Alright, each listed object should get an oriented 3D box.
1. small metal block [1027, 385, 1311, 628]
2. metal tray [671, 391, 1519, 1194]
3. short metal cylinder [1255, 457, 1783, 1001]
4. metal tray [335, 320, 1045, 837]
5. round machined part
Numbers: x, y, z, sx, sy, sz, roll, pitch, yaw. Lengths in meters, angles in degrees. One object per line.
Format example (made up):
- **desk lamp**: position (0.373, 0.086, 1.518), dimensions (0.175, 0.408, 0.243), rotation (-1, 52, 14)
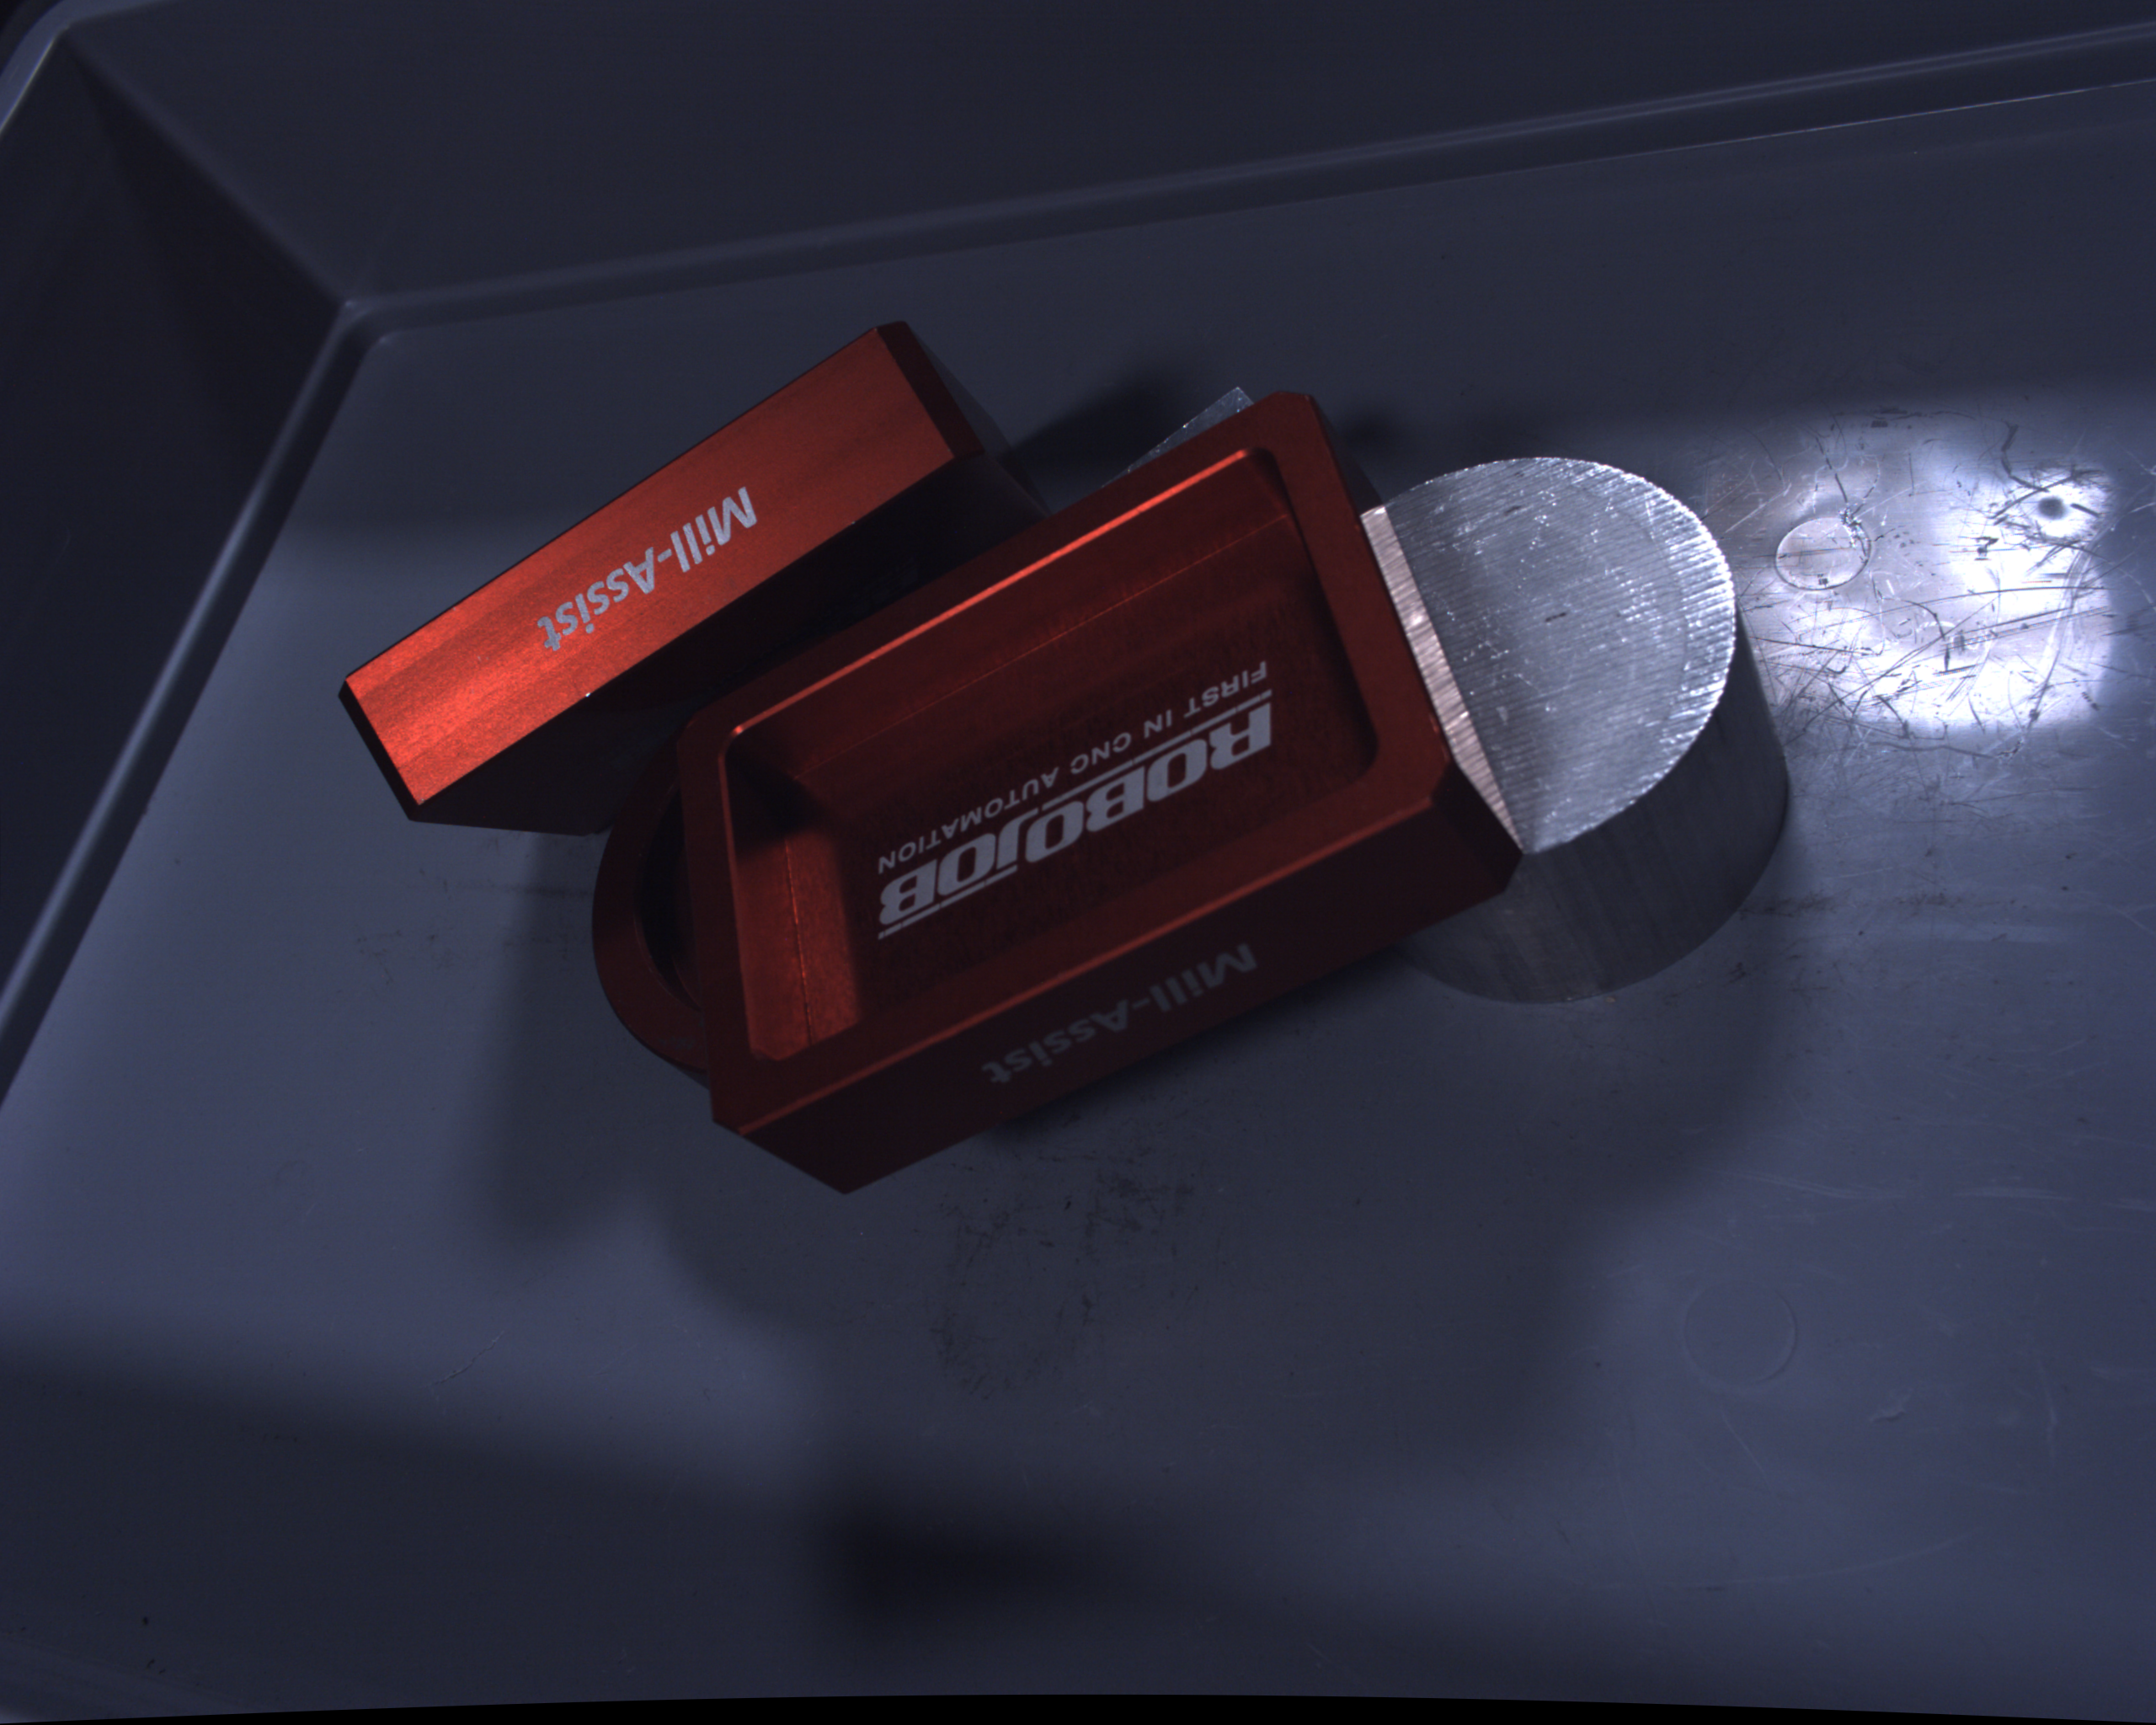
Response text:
- **small metal block**: position (0.025, -0.056, 0.407), dimensions (0.050, 0.050, 0.025), rotation (-36, 51, 2)
- **metal tray**: position (-0.004, -0.011, 0.347), dimensions (0.130, 0.030, 0.090), rotation (-26, 52, 17)
- **short metal cylinder**: position (0.076, -0.023, 0.360), dimensions (0.080, 0.050, 0.080), rotation (-13, 56, 20)
- **metal tray**: position (-0.073, -0.053, 0.429), dimensions (0.130, 0.090, 0.030), rotation (-32, 84, 7)
- **round machined part**: position (-0.043, 0.006, 0.412), dimensions (0.098, 0.042, 0.098), rotation (-13, 56, 20)
